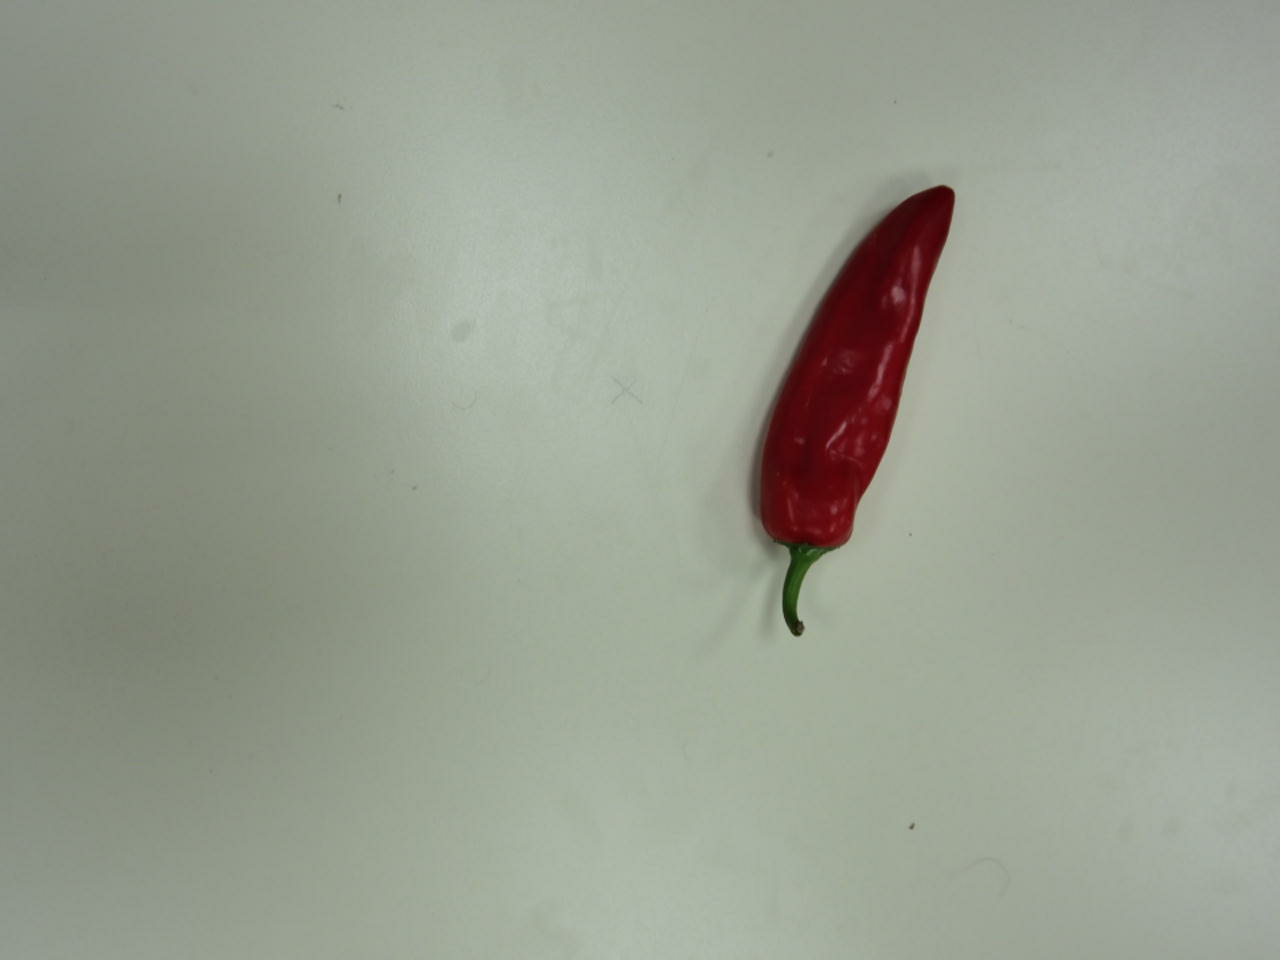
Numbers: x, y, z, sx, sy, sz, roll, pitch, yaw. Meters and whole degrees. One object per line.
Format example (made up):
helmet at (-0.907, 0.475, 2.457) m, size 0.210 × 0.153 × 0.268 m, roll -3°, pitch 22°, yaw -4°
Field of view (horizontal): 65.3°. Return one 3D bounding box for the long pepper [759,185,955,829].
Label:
long pepper at (0.091, -0.036, 0.438) m, size 0.050 × 0.043 × 0.211 m, roll 22°, pitch 86°, yaw -11°
